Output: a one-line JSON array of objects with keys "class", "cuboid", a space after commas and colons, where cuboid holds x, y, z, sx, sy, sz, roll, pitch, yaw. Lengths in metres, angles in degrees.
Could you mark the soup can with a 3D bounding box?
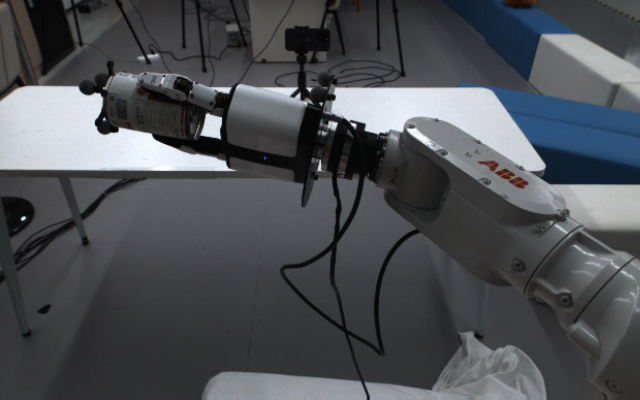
[{"class": "soup can", "cuboid": [-0.194, -0.111, 0.580, 0.101, 0.067, 0.067, 10, 35, -1]}]
